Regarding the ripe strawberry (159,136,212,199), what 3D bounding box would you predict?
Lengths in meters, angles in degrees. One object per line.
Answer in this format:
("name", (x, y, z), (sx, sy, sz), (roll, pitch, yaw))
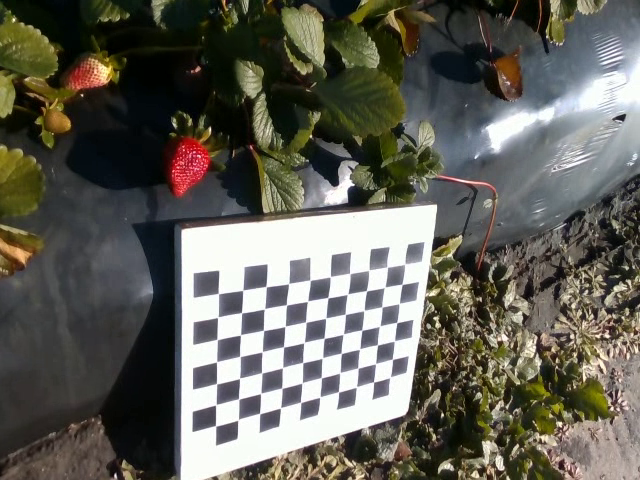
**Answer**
("ripe strawberry", (-0.119, -0.060, 0.516), (0.058, 0.061, 0.066), (-32, -50, 17))
